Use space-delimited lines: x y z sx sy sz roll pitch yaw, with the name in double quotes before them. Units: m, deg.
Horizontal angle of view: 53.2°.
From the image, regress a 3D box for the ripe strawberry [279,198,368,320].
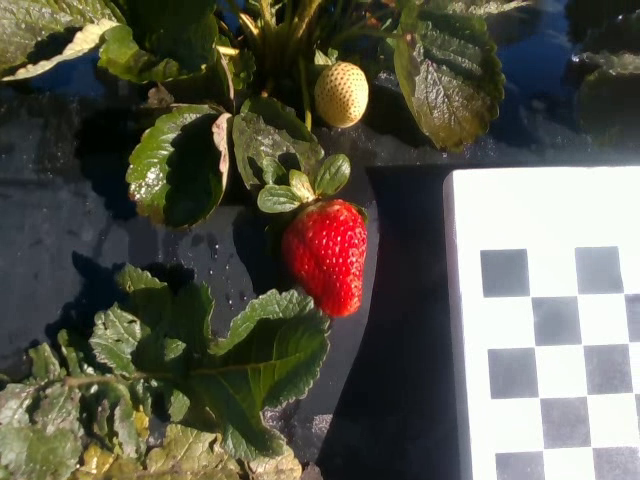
"ripe strawberry" 0.006 0.010 0.315 0.048 0.069 0.040 -19 -15 -6
